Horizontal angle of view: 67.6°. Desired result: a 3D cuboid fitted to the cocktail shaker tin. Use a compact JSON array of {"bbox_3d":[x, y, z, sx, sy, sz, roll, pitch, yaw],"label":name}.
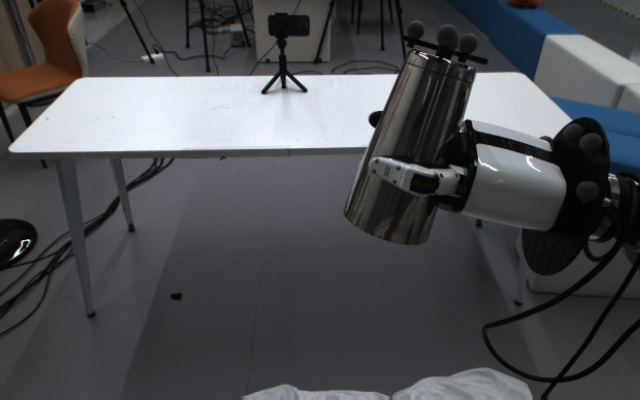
[{"bbox_3d":[0.093,-0.053,0.476,0.093,0.170,0.093,15,19,-5],"label":"cocktail shaker tin"}]
